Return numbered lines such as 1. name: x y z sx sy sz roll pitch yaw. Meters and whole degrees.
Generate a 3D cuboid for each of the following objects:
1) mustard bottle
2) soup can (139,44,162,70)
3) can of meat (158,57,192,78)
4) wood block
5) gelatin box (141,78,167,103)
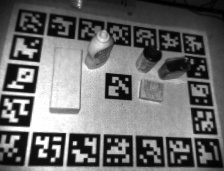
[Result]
1. mustard bottle: -0.039 -0.127 0.731 0.097 0.191 0.058 -21 74 -20
2. soup can: 0.146 -0.107 0.801 0.068 0.102 0.067 4 71 -10
3. can of meat: 0.238 -0.072 0.829 0.102 0.083 0.057 -9 73 -18
4. wood block: -0.146 -0.020 0.717 0.091 0.090 0.205 6 65 -12
5. gelatin box: 0.157 0.017 0.801 0.089 0.030 0.073 14 70 -5
